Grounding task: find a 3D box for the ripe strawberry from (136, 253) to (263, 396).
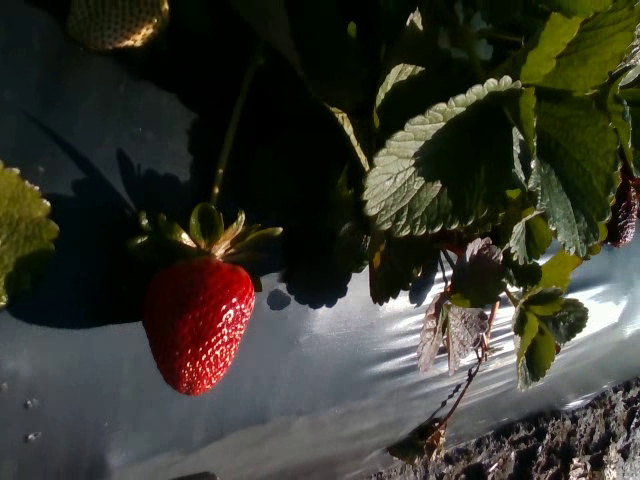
[{"bbox_3d":[-0.041,0.031,0.205,0.043,0.050,0.042,-12,-34,26],"label":"ripe strawberry"}]
